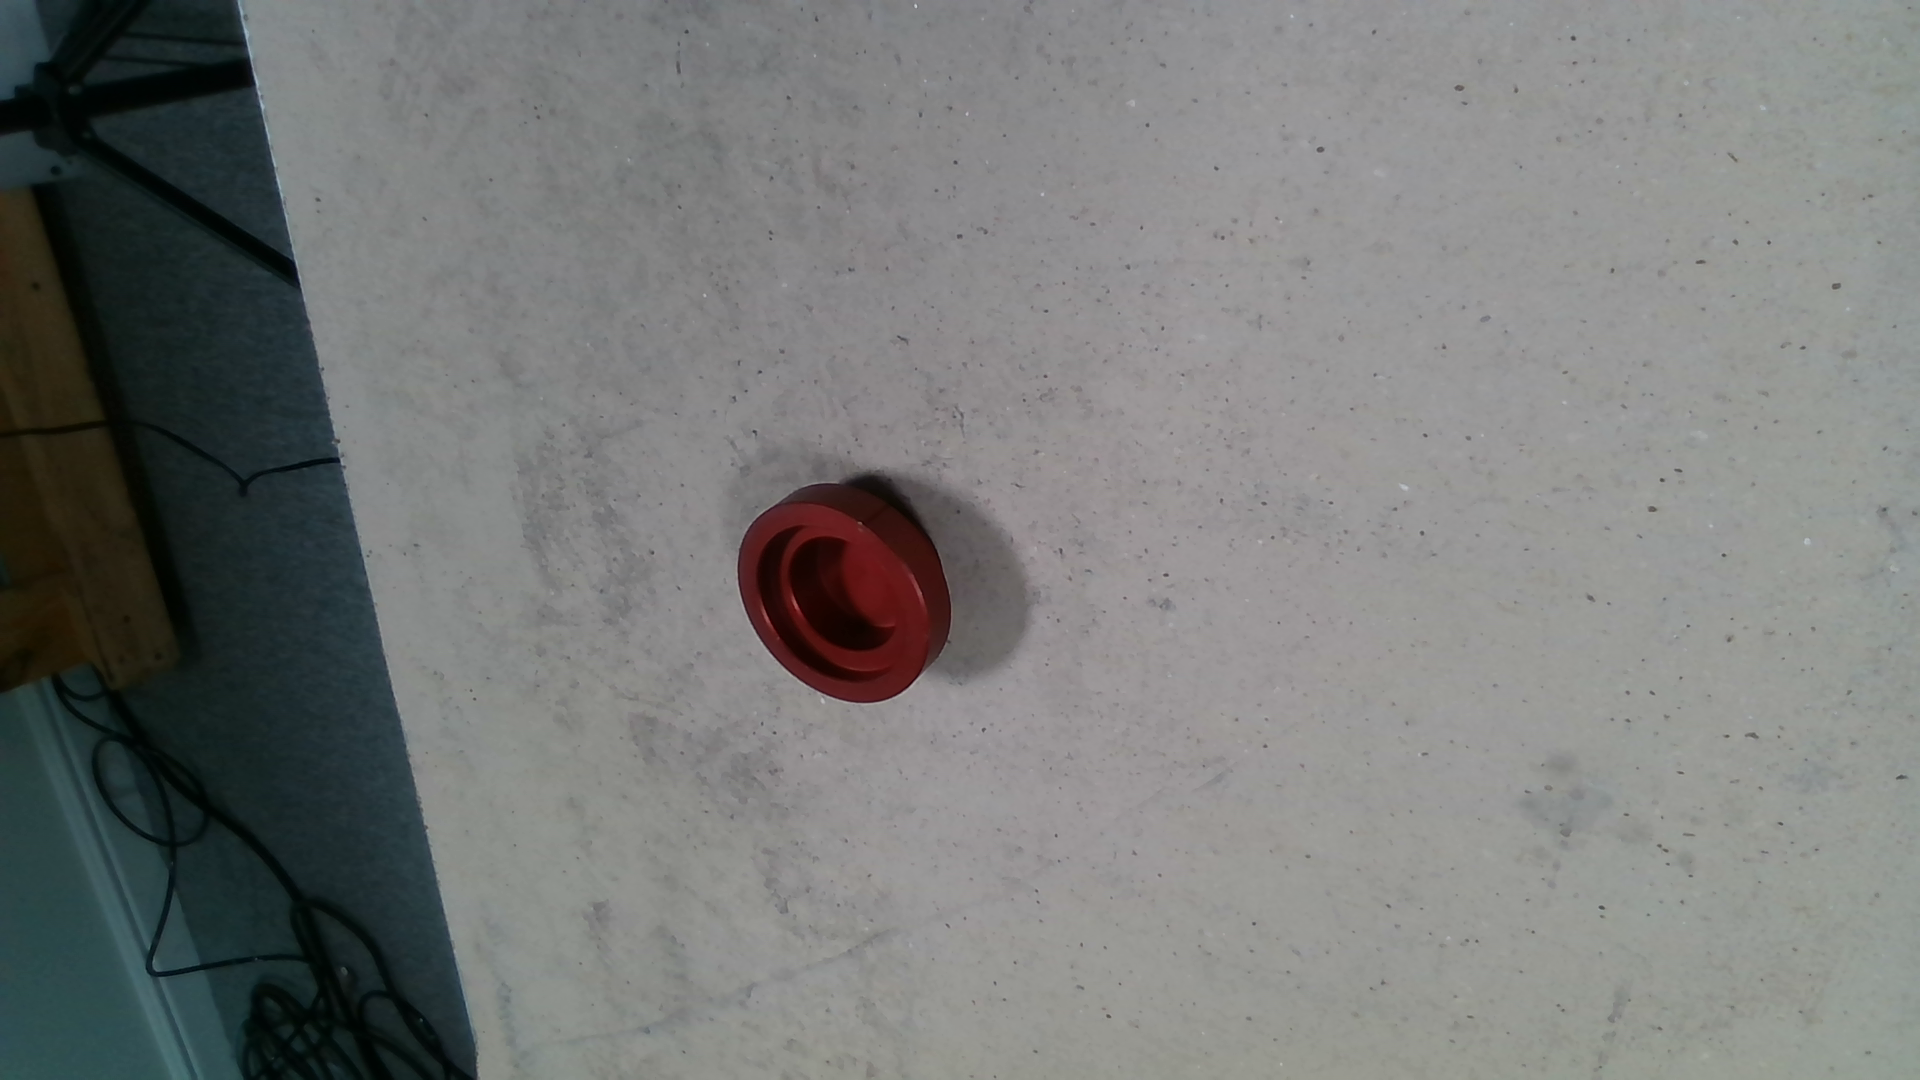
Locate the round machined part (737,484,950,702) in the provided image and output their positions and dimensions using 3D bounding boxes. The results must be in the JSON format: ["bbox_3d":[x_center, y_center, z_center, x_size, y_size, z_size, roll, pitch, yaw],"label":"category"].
[{"bbox_3d":[-0.047,0.019,0.608,0.098,0.042,0.098,14,122,25],"label":"round machined part"}]
